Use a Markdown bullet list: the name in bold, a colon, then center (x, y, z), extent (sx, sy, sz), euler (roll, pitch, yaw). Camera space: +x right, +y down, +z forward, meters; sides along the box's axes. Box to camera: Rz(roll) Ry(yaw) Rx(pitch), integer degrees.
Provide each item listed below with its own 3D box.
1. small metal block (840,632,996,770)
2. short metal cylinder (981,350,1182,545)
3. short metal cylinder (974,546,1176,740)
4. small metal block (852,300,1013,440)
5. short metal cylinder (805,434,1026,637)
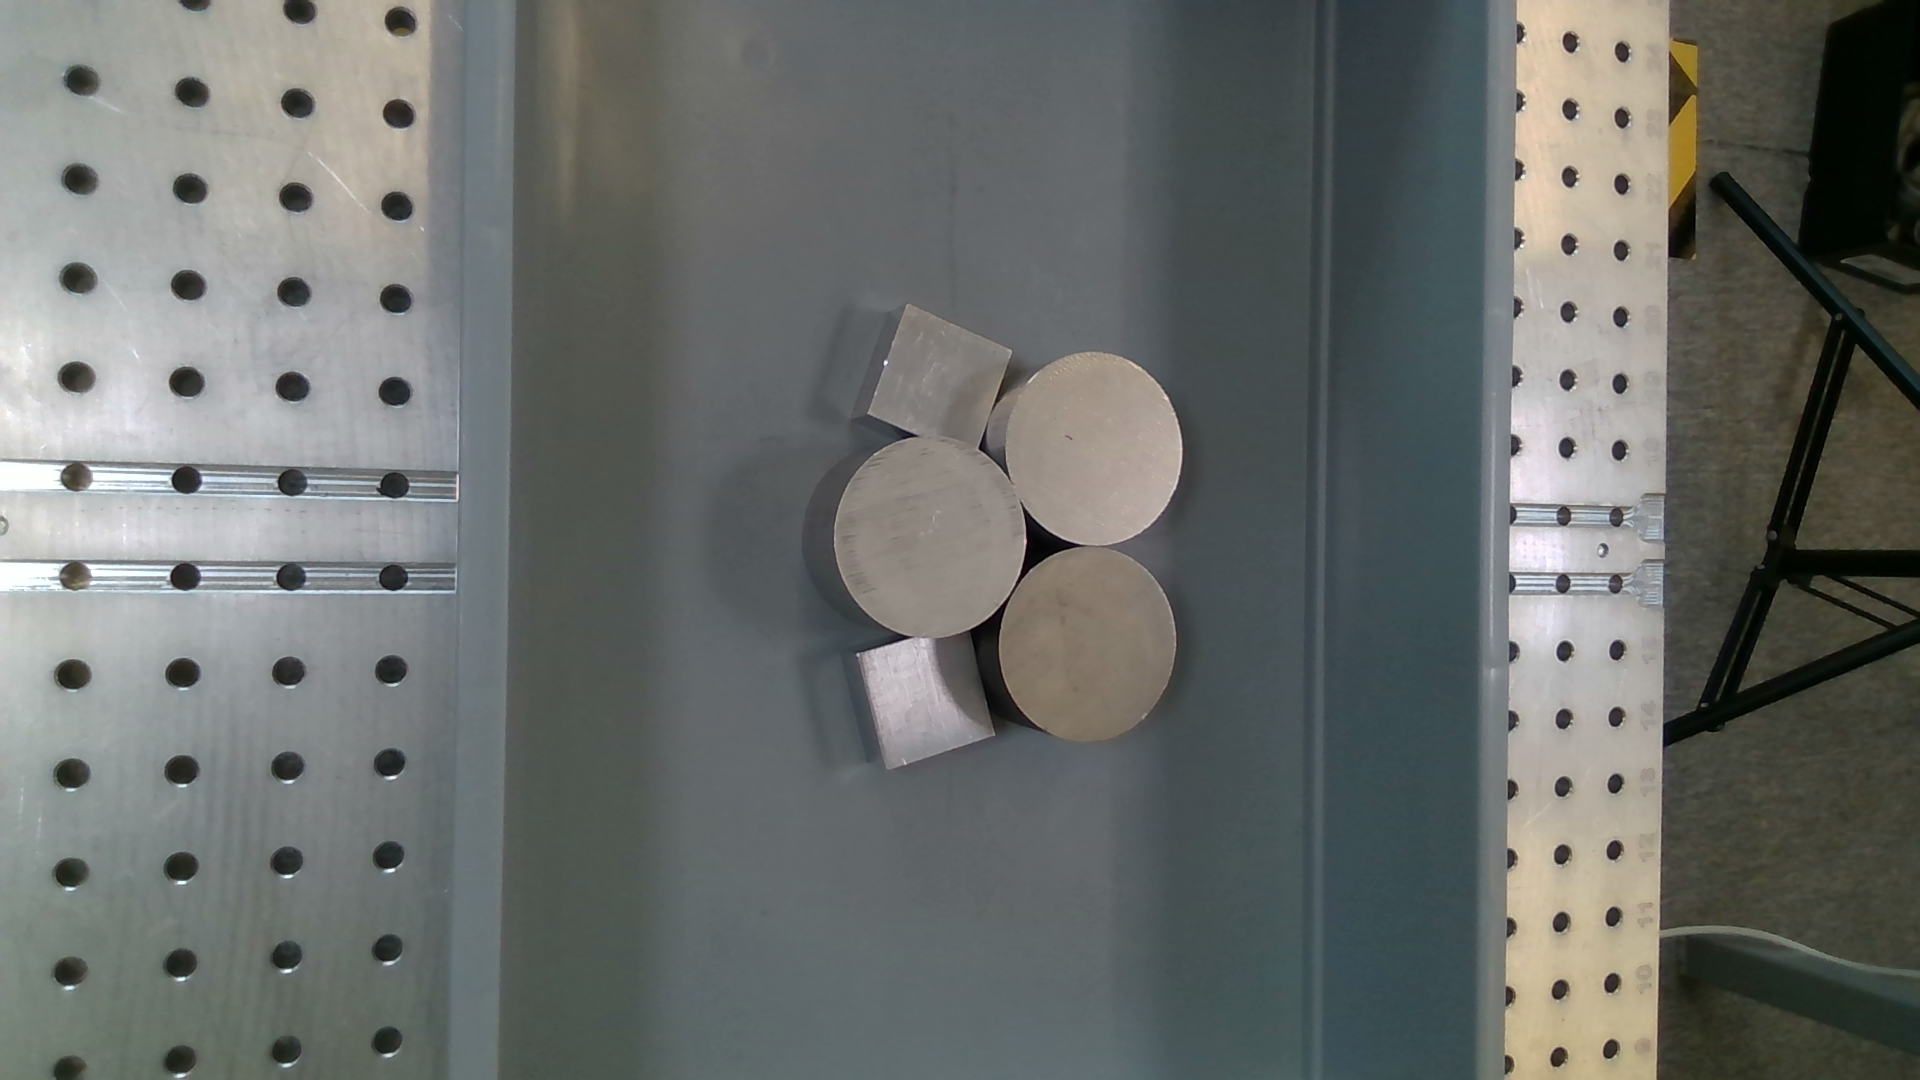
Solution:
- **small metal block**: center (-0.018, 0.064, 0.579), extent (0.050, 0.025, 0.050), euler (-15, 95, -20)
- **short metal cylinder**: center (0.047, -0.038, 0.589), extent (0.080, 0.050, 0.080), euler (0, 90, -20)
- **short metal cylinder**: center (0.045, 0.042, 0.589), extent (0.080, 0.050, 0.080), euler (0, 90, -20)
- **small metal block**: center (-0.012, -0.066, 0.580), extent (0.050, 0.025, 0.050), euler (22, 83, -19)
- **short metal cylinder**: center (-0.020, -0.002, 0.565), extent (0.080, 0.050, 0.080), euler (0, 90, -20)
